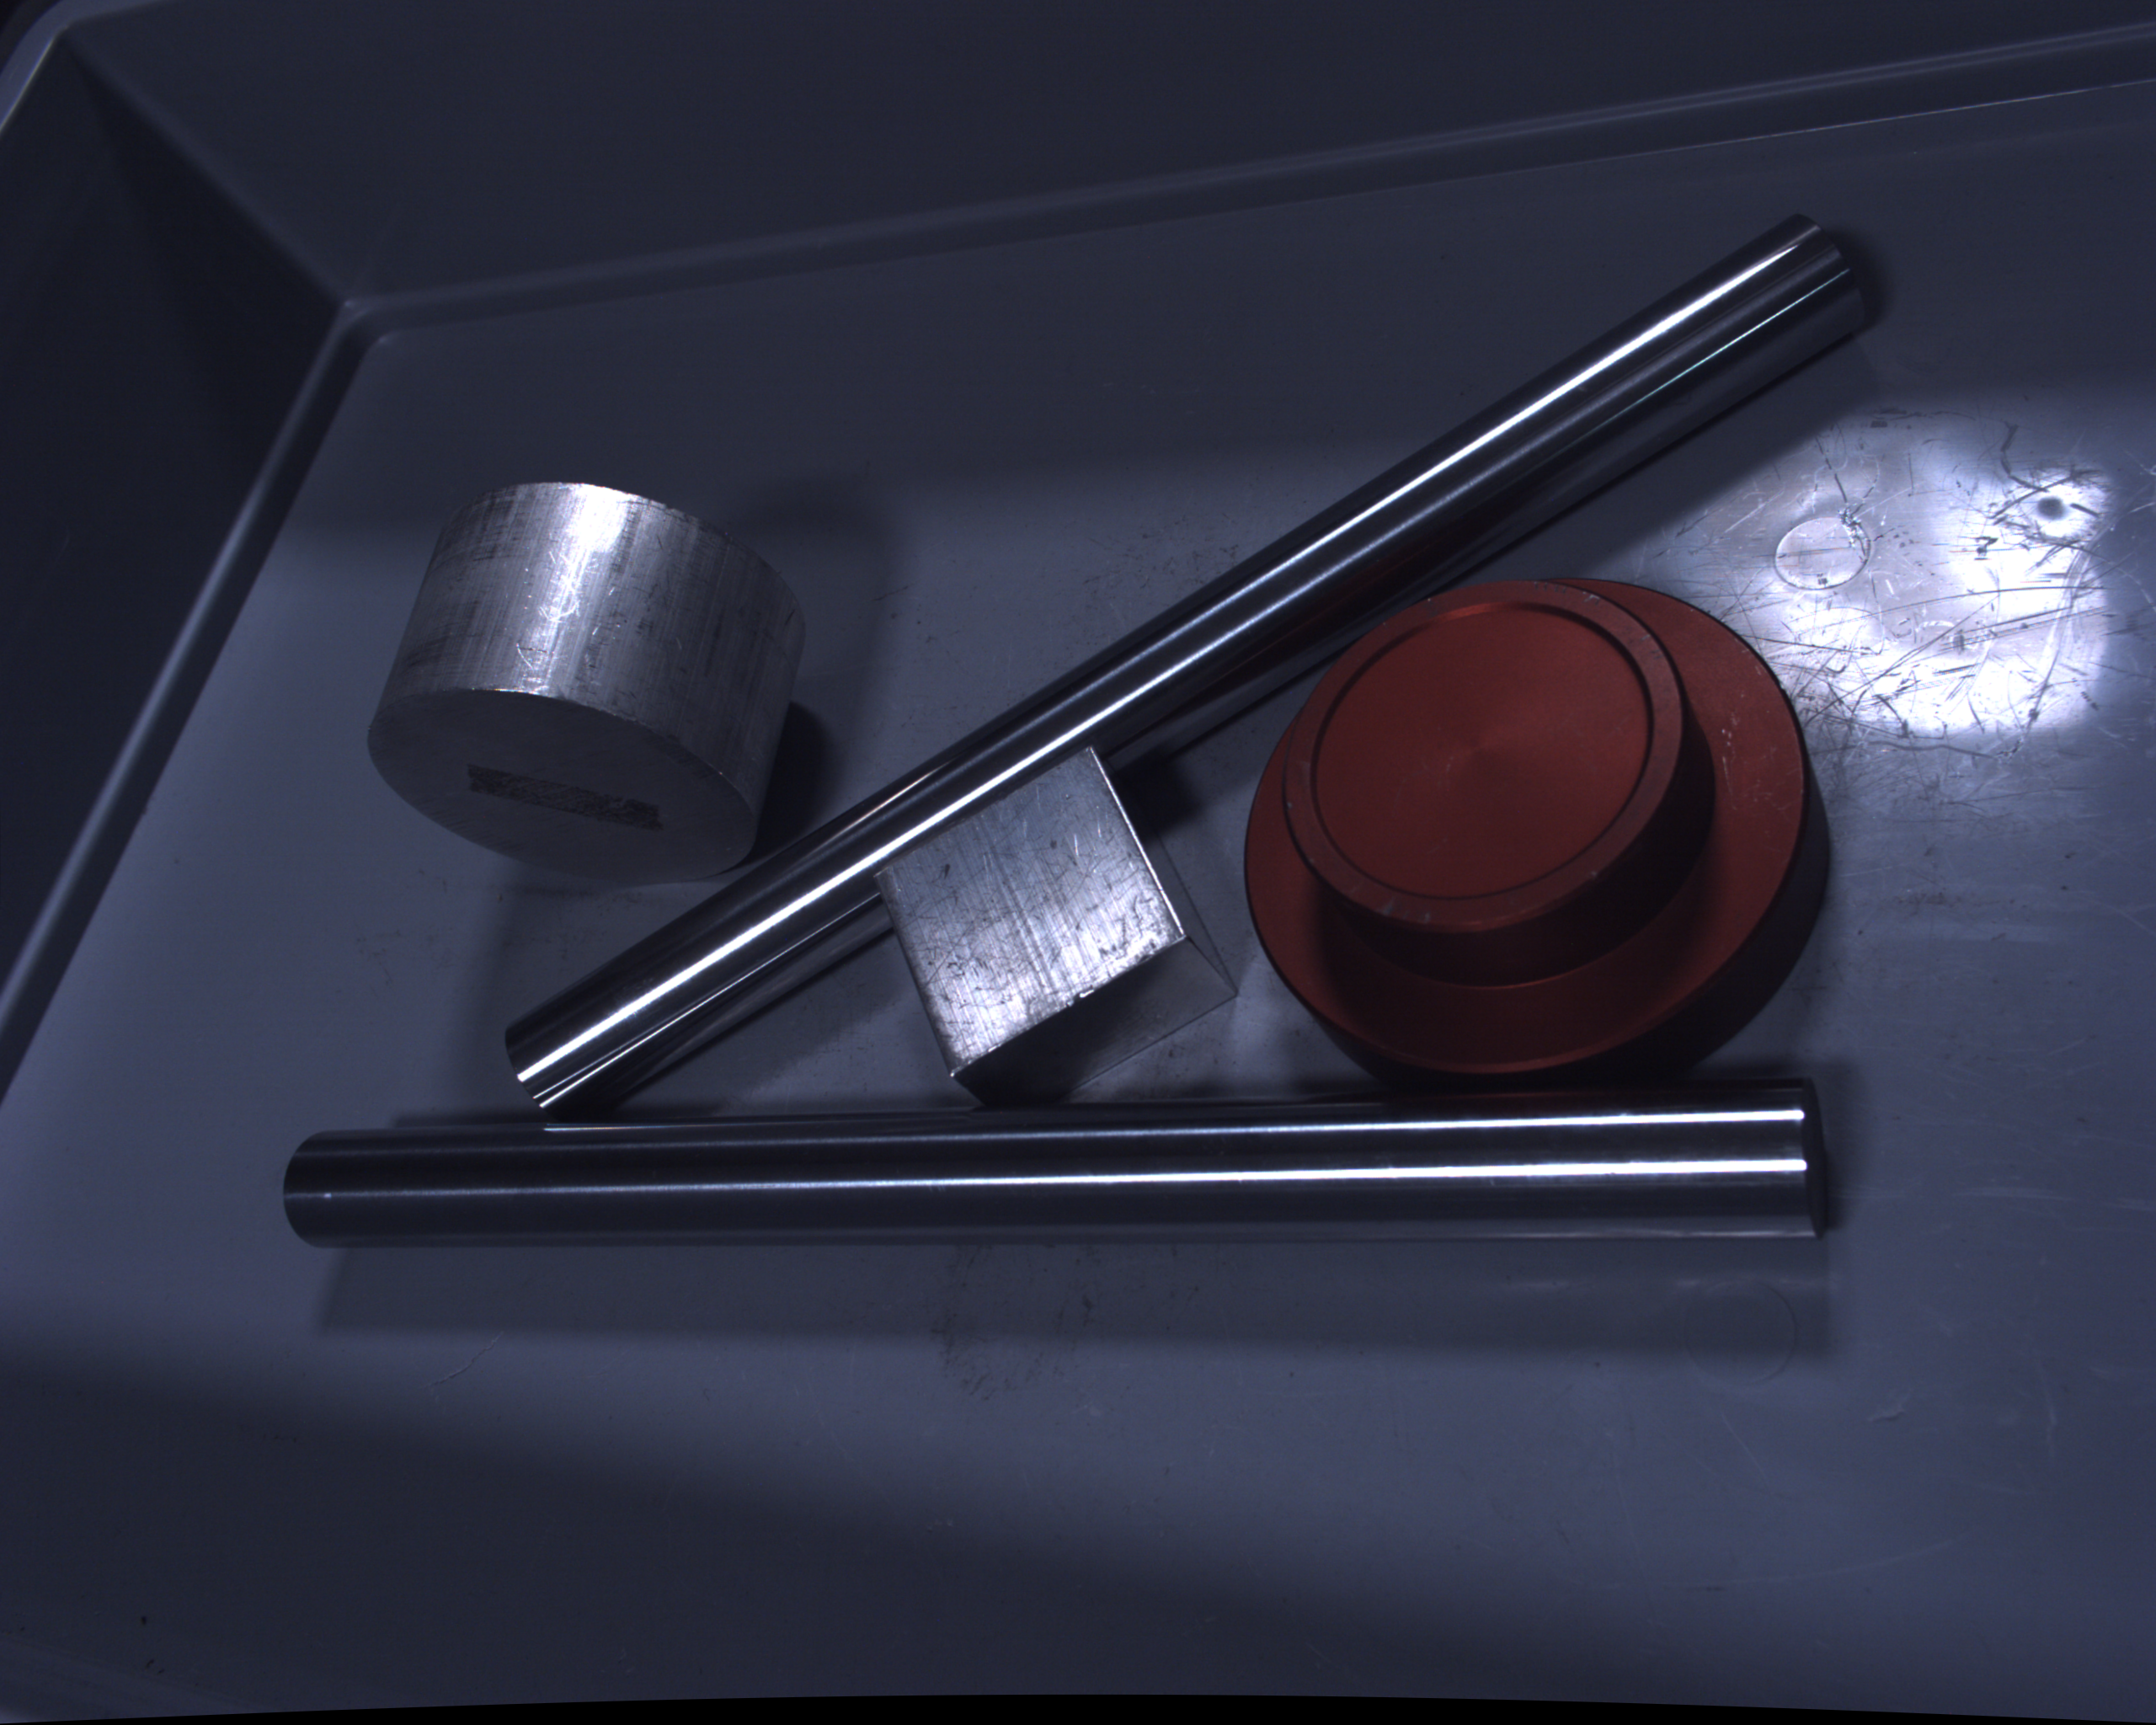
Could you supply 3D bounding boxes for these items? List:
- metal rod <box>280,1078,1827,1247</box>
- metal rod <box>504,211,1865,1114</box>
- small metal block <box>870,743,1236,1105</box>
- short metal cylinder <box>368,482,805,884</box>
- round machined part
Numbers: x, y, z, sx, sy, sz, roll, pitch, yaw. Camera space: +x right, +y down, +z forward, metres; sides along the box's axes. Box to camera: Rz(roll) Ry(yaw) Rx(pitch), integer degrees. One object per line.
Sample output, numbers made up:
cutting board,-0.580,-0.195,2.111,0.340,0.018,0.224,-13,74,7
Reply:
metal rod,-0.024,0.057,0.380,0.301,0.025,0.025,-5,60,25
metal rod,0.016,-0.035,0.416,0.300,0.025,0.025,-32,52,7
small metal block,-0.006,0.014,0.396,0.050,0.025,0.050,-31,52,8
short metal cylinder,-0.103,-0.036,0.443,0.080,0.080,0.050,-5,60,25
round machined part,0.073,-0.010,0.358,0.098,0.042,0.098,-13,56,20
